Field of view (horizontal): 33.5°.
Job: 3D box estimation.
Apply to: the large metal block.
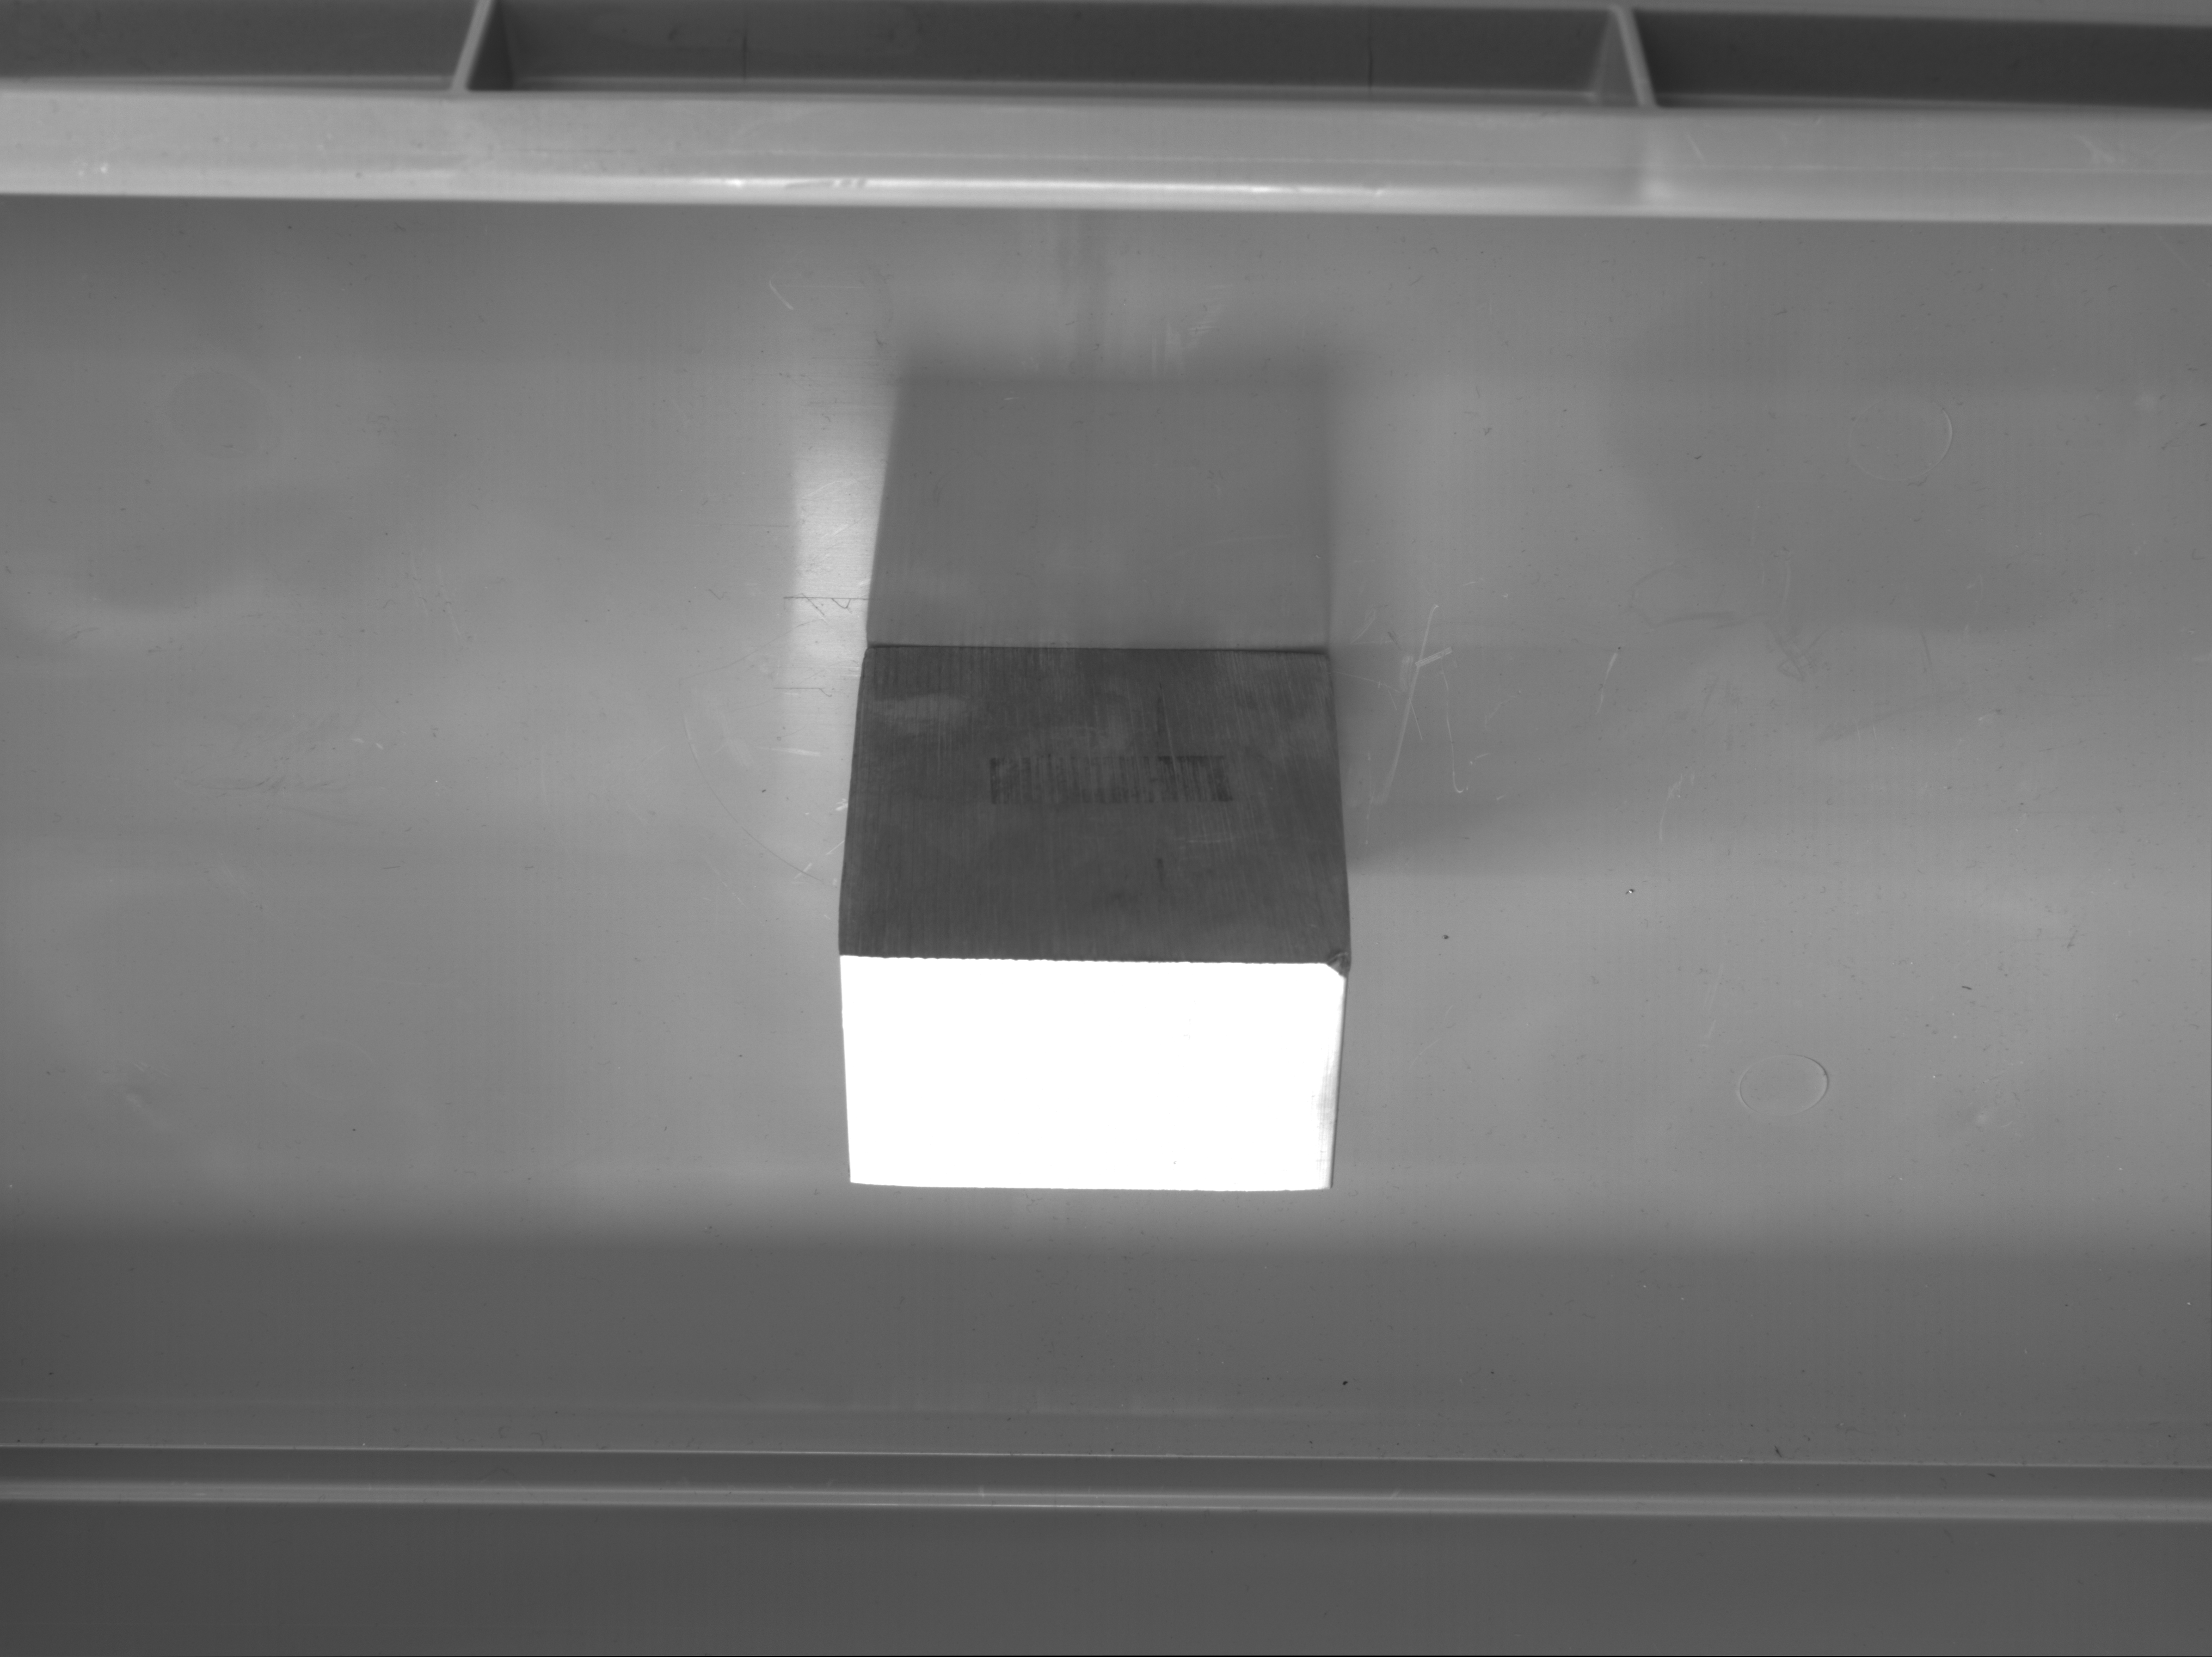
[{"bbox_3d":[-0.002,0.014,0.613,0.080,0.080,0.050,1,130,-1],"label":"large metal block"}]
